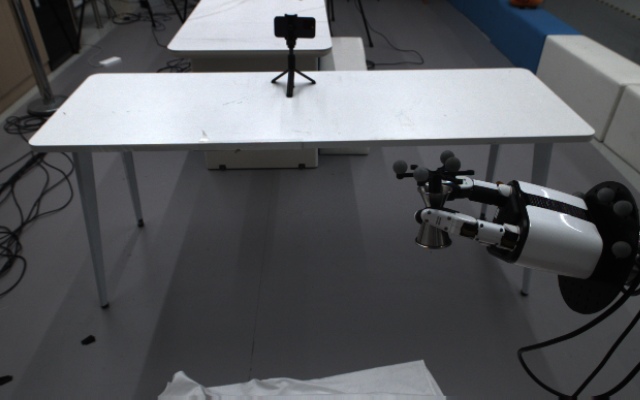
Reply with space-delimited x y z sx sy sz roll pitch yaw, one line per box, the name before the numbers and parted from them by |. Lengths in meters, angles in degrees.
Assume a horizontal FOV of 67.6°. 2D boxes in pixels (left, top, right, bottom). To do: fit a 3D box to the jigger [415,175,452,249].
jigger | 0.136 0.019 0.577 0.043 0.071 0.043 -2 19 1
